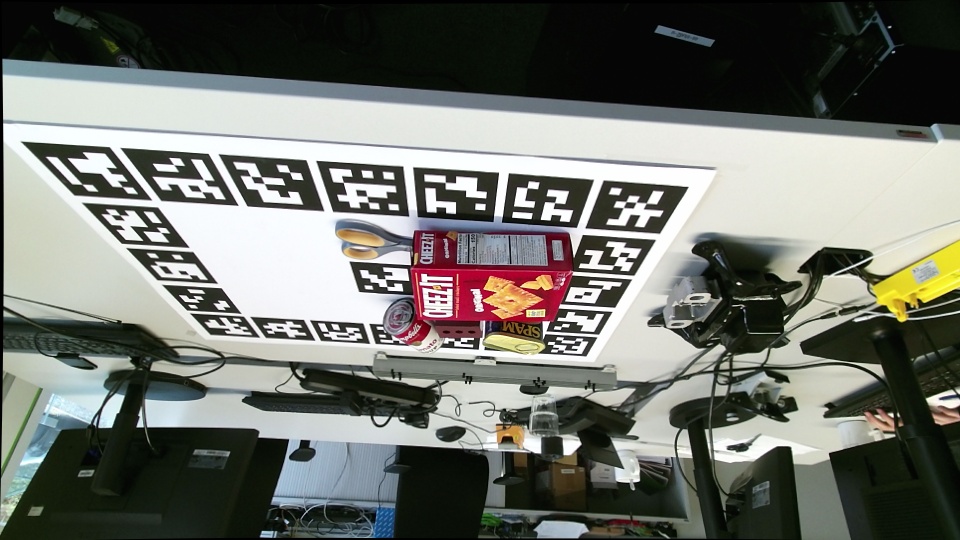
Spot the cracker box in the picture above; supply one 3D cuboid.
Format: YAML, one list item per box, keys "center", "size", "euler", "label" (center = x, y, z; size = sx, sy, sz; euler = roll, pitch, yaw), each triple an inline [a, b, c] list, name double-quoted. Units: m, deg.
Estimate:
- center: [0.020, 0.019, 0.779]
  size: [0.214, 0.071, 0.164]
  euler: [-2, 147, 0]
  label: "cracker box"

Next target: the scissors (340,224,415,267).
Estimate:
- center: [-0.092, -0.033, 0.763]
  size: [0.203, 0.016, 0.088]
  euler: [1, 146, 2]
  label: "scissors"

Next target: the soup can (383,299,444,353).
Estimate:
- center: [-0.116, 0.102, 0.955]
  size: [0.068, 0.067, 0.102]
  euler: [-19, 146, 29]
  label: "soup can"

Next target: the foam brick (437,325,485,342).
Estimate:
- center: [-0.032, 0.091, 0.935]
  size: [0.078, 0.051, 0.053]
  euler: [-2, 145, 7]
  label: "foam brick"

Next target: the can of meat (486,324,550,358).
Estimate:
- center: [0.064, 0.095, 0.901]
  size: [0.102, 0.083, 0.058]
  euler: [12, 145, -13]
  label: "can of meat"
